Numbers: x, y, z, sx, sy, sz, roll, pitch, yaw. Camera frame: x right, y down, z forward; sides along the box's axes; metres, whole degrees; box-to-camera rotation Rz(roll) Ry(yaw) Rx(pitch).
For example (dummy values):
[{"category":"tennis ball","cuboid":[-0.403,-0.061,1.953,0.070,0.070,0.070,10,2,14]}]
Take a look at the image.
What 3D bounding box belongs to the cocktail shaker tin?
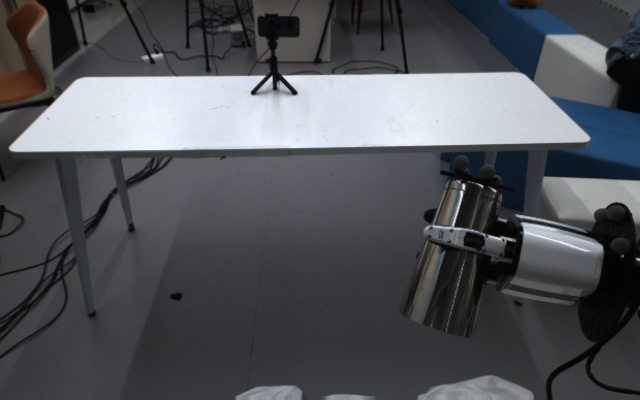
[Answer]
[{"category":"cocktail shaker tin","cuboid":[0.165,0.066,0.582,0.093,0.170,0.093,16,-2,1]}]
